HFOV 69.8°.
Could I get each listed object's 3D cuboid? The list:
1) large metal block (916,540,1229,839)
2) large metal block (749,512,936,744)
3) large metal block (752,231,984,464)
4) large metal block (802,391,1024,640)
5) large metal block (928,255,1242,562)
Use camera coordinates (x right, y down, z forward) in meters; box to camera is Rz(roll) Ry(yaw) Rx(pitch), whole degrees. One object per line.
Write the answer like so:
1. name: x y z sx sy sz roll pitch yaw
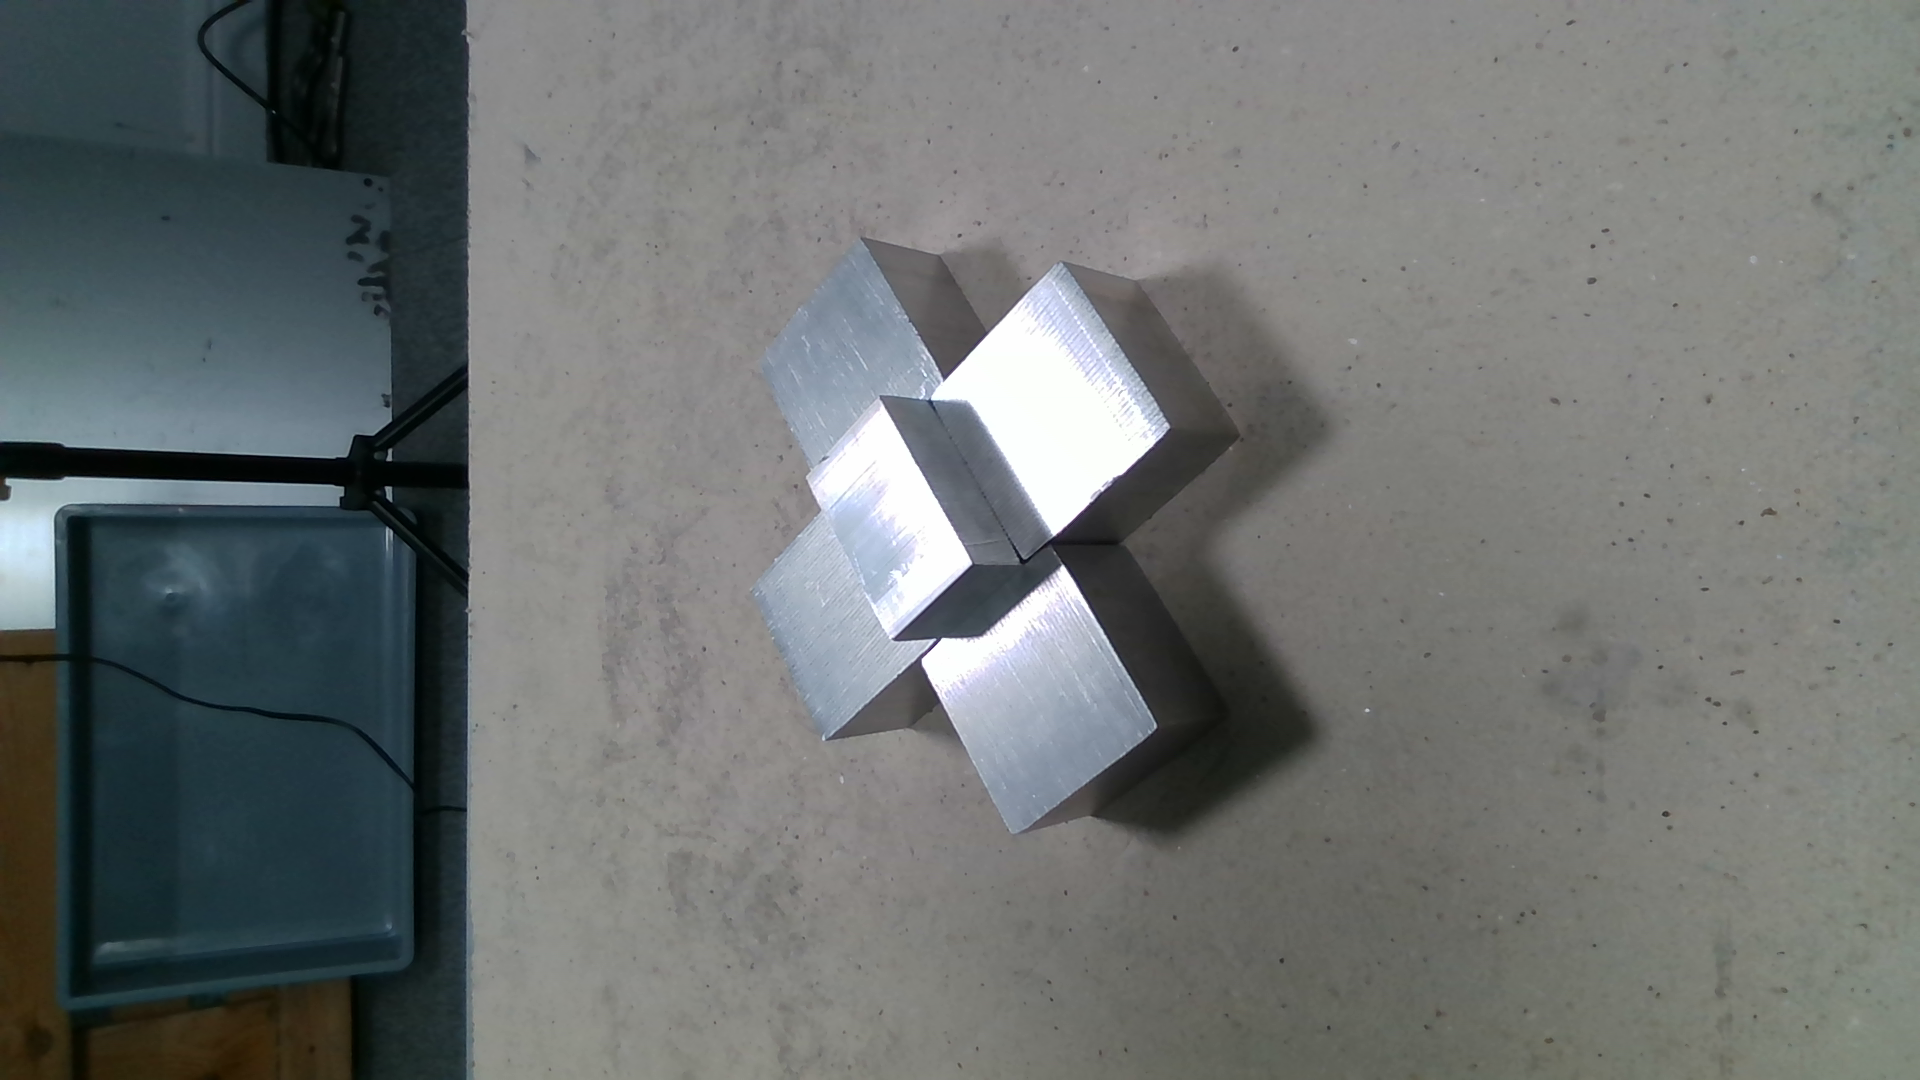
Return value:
1. large metal block: 0.041 0.056 0.530 0.080 0.050 0.080 -44 64 32
2. large metal block: -0.035 0.030 0.595 0.080 0.050 0.080 -44 64 32
3. large metal block: -0.033 -0.071 0.592 0.080 0.050 0.080 -44 64 32
4. large metal block: -0.003 -0.010 0.549 0.050 0.080 0.080 -44 64 31
5. large metal block: 0.046 -0.048 0.526 0.080 0.050 0.080 -44 64 32
